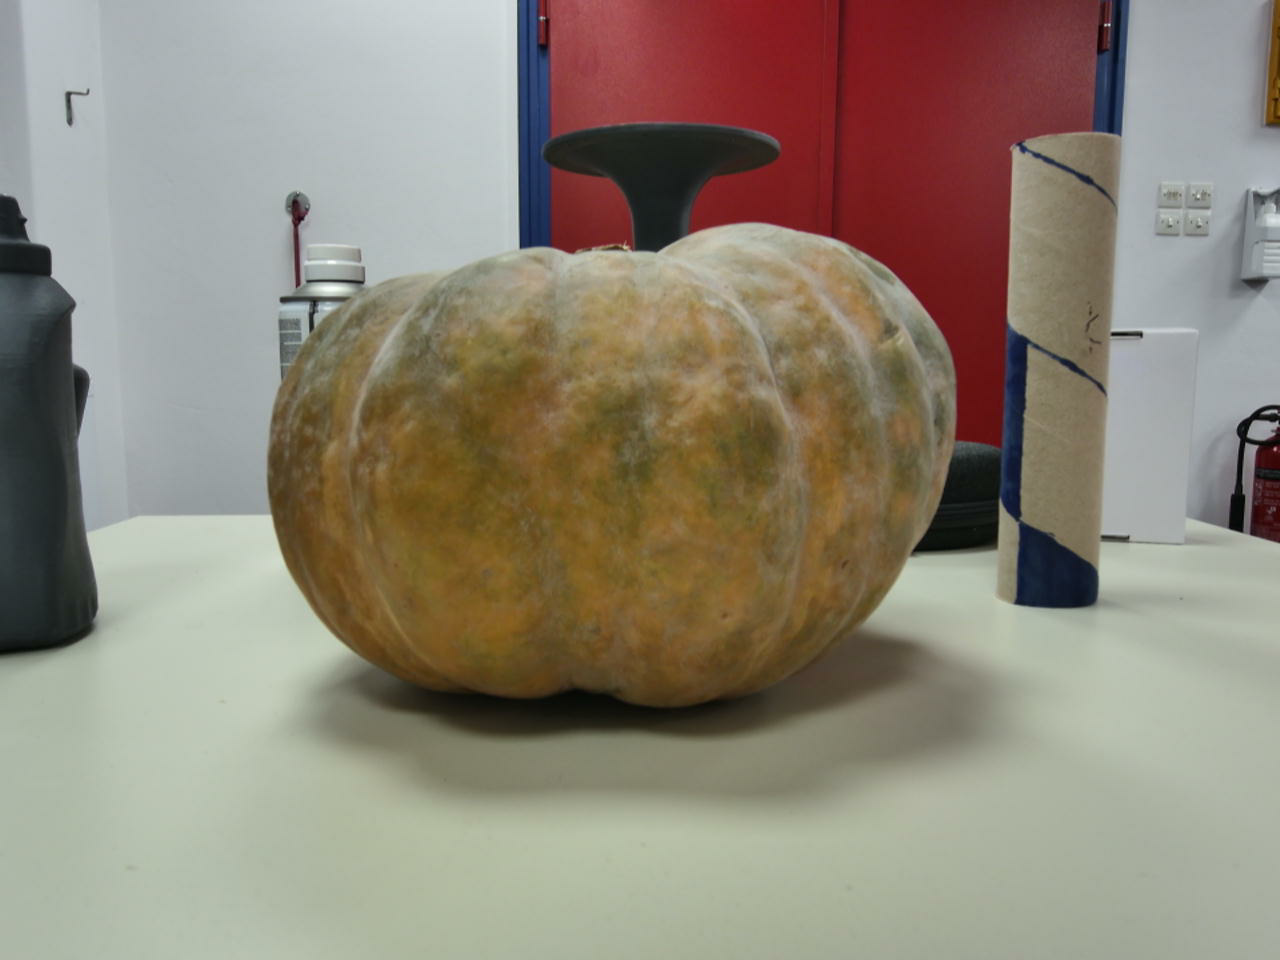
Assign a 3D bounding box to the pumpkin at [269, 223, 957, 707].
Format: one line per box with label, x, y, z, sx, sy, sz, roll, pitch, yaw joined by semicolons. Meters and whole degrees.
pumpkin;-0.015;-0.009;0.384;0.252;0.168;0.252;0;5;0
